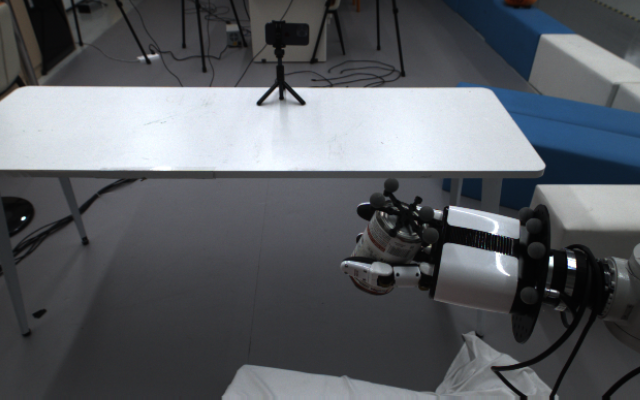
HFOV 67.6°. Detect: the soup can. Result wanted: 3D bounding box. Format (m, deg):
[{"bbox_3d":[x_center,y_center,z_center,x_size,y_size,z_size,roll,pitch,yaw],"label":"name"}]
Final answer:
[{"bbox_3d":[0.082,0.058,0.585,0.067,0.101,0.067,14,39,-12],"label":"soup can"}]
